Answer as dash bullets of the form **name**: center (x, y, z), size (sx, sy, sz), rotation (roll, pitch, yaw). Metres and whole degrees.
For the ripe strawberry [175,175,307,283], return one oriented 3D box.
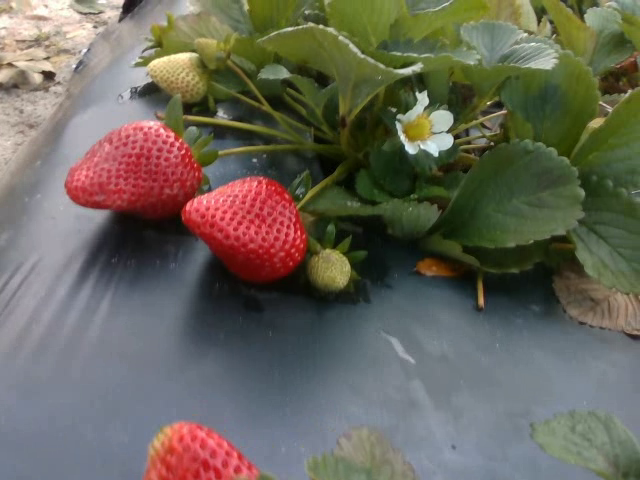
- **ripe strawberry**: center (-0.035, -0.009, 0.253), size (0.050, 0.051, 0.059), rotation (-8, -12, 39)

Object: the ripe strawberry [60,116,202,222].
- **ripe strawberry**: center (-0.092, -0.031, 0.279), size (0.058, 0.044, 0.065), rotation (-3, 22, 43)
